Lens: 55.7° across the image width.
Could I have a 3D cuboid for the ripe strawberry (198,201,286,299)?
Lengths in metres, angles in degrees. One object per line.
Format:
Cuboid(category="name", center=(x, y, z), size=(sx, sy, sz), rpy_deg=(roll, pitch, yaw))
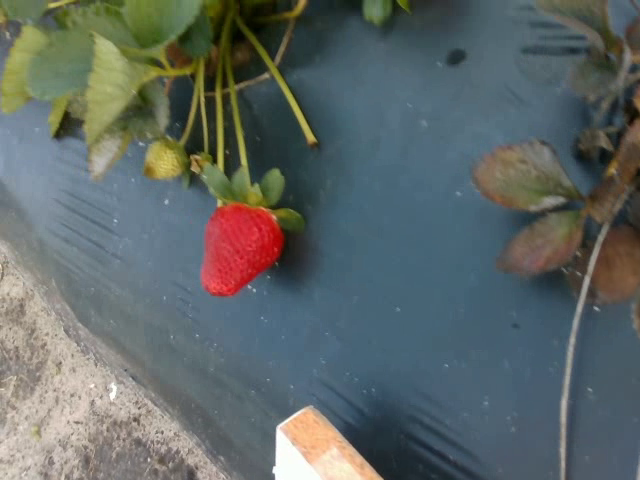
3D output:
Cuboid(category="ripe strawberry", center=(-0.041, 0.007, 0.292), size=(0.042, 0.055, 0.045), rpy_deg=(39, -25, -13))
